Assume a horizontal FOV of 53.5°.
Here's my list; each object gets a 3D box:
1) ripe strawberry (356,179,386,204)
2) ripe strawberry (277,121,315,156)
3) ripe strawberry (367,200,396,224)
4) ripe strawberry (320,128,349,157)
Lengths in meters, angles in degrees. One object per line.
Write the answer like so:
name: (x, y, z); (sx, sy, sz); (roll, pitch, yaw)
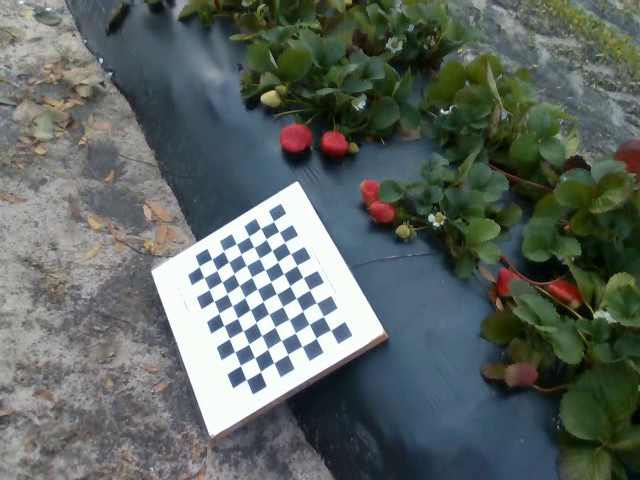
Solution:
ripe strawberry: (0.084, -0.074, 0.992); (0.053, 0.047, 0.038); (37, -3, 0)
ripe strawberry: (-0.041, -0.165, 1.058); (0.058, 0.065, 0.043); (-9, -45, 23)
ripe strawberry: (0.096, -0.046, 0.960); (0.049, 0.041, 0.043); (9, 37, -47)
ripe strawberry: (0.025, -0.159, 1.059); (0.051, 0.051, 0.059); (-15, 11, 21)
